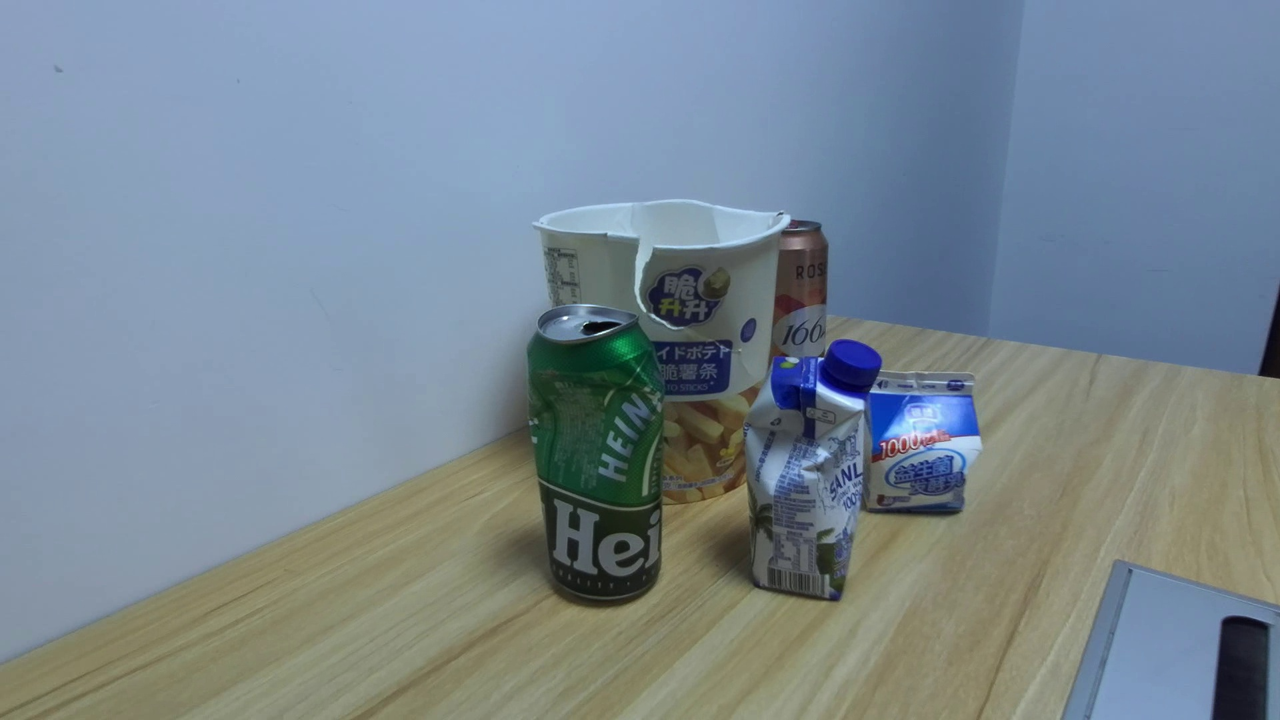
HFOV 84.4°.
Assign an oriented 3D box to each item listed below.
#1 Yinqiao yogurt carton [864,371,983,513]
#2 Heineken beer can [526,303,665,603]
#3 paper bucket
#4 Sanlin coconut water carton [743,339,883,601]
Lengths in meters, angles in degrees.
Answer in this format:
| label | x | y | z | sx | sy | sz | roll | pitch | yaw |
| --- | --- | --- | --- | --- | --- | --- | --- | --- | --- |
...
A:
| label | x | y | z | sx | sy | sz | roll | pitch | yaw |
| --- | --- | --- | --- | --- | --- | --- | --- | --- | --- |
| Yinqiao yogurt carton | 0.188 | 0.050 | 0.482 | 0.074 | 0.097 | 0.080 | -1 | 25 | 4 |
| Heineken beer can | -0.025 | 0.053 | 0.400 | 0.066 | 0.164 | 0.077 | -8 | 23 | -12 |
| paper bucket | 0.015 | -0.011 | 0.527 | 0.146 | 0.197 | 0.201 | -20 | 24 | -38 |
| Sanlin coconut water carton | 0.093 | 0.059 | 0.394 | 0.069 | 0.144 | 0.061 | 6 | 23 | 19 |
